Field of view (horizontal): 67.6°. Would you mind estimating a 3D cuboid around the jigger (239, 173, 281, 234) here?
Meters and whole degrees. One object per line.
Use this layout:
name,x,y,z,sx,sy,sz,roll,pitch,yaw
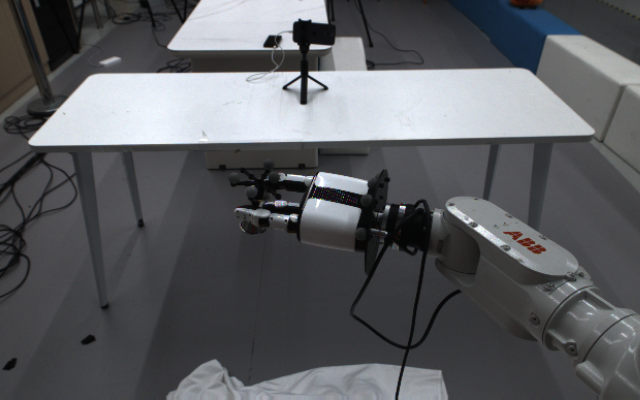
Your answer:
jigger,-0.100,0.015,0.756,0.043,0.071,0.043,10,36,-7
